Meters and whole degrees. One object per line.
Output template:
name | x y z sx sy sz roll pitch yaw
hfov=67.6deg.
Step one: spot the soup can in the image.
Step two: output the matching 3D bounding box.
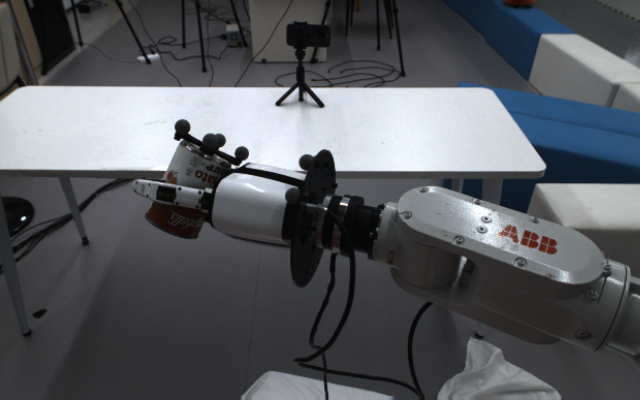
soup can | -0.157 -0.011 0.582 0.067 0.101 0.067 27 6 -3
